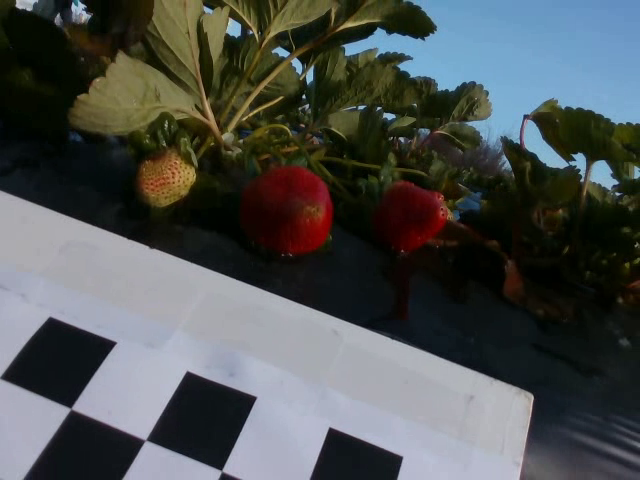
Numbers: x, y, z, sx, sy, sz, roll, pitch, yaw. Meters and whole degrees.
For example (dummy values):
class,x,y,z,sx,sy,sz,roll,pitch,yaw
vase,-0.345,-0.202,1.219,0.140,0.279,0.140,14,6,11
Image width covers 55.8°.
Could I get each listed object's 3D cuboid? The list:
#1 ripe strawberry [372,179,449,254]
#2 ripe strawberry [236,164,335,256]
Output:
class,x,y,z,sx,sy,sz,roll,pitch,yaw
ripe strawberry,0.052,-0.012,0.340,0.045,0.042,0.055,-35,14,-27
ripe strawberry,-0.014,-0.018,0.285,0.050,0.050,0.065,-14,2,-15
